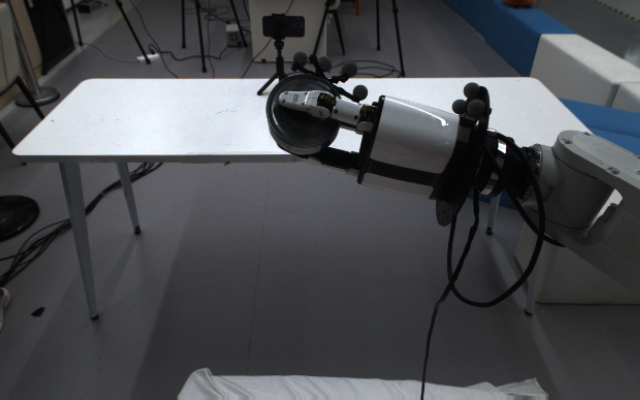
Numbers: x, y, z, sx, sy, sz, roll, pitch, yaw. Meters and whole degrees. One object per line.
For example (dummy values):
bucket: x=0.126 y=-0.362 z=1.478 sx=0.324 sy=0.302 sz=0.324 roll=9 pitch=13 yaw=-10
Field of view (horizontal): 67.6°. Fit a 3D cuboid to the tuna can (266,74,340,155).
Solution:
tuna can: x=-0.016 y=-0.096 z=0.547 sx=0.085 sy=0.034 sz=0.085 roll=1 pitch=75 yaw=-4
